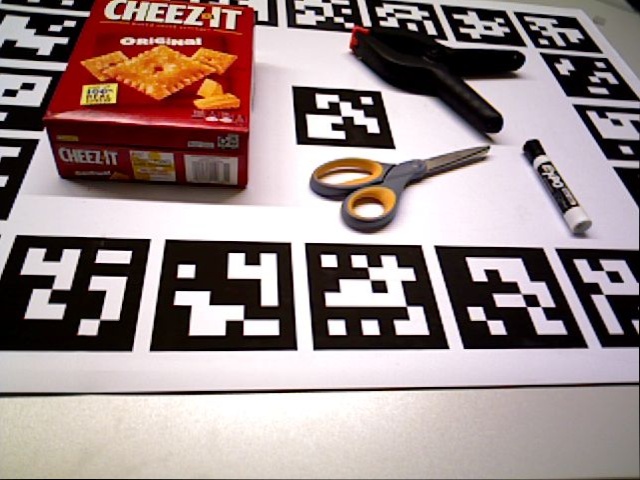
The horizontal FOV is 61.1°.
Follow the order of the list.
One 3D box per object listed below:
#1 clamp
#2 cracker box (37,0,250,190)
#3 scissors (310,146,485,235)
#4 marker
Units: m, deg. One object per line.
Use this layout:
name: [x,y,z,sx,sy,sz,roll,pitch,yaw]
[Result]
clamp: [0.115,-0.199,0.639,0.202,0.037,0.161,24,49,11]
cracker box: [-0.148,-0.146,0.510,0.163,0.074,0.210,2,49,-8]
scissors: [0.084,-0.063,0.510,0.199,0.016,0.087,-22,55,-28]
marker: [0.225,-0.056,0.526,0.019,0.020,0.119,-2,49,-11]
